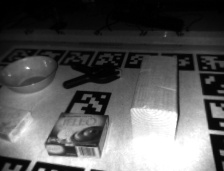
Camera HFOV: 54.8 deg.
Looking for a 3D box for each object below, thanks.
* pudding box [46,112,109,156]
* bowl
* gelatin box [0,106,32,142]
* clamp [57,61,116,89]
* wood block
[{"bbox_3d":[-0.069,0.101,0.461,0.113,0.039,0.090,1,43,12],"label":"pudding box"},{"bbox_3d":[-0.239,-0.027,0.636,0.161,0.055,0.161,-3,42,3],"label":"bowl"},{"bbox_3d":[-0.248,0.086,0.506,0.088,0.030,0.073,9,43,17],"label":"gelatin box"},{"bbox_3d":[-0.072,-0.037,0.644,0.165,0.037,0.121,-2,39,2],"label":"clamp"},{"bbox_3d":[0.106,0.015,0.501,0.089,0.091,0.206,6,41,13],"label":"wood block"}]
